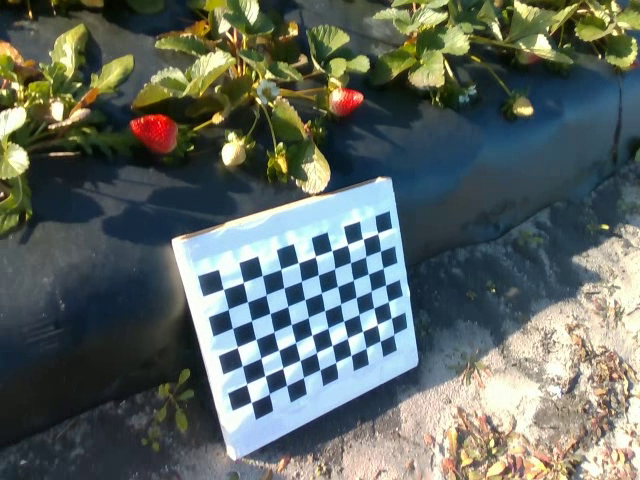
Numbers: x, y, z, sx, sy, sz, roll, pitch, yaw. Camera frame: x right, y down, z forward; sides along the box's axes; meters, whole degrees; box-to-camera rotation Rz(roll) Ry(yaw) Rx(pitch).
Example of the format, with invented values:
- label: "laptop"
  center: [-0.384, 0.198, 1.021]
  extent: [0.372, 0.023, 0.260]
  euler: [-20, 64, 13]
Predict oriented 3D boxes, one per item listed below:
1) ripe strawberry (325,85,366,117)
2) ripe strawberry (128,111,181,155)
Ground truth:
- label: "ripe strawberry"
  center: [0.029, -0.153, 0.599]
  extent: [0.045, 0.037, 0.042]
  euler: [-10, 29, 35]
- label: "ripe strawberry"
  center: [-0.153, -0.102, 0.509]
  extent: [0.053, 0.044, 0.036]
  euler: [11, 3, -40]
